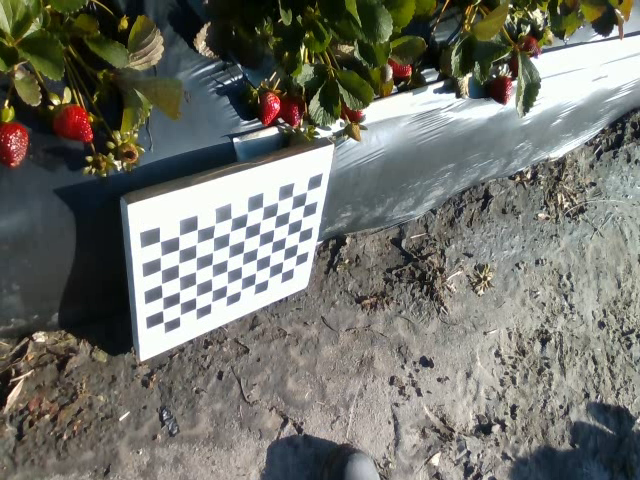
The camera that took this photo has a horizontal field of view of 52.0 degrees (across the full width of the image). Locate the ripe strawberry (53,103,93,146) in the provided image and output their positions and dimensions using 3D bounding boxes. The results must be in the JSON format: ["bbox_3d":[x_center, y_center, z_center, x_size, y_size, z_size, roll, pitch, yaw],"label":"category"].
[{"bbox_3d":[-0.260,-0.122,0.688,0.049,0.042,0.039,45,5,5],"label":"ripe strawberry"}]

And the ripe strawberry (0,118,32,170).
[{"bbox_3d":[-0.316,-0.095,0.649,0.051,0.050,0.044,-7,-25,-46],"label":"ripe strawberry"}]
